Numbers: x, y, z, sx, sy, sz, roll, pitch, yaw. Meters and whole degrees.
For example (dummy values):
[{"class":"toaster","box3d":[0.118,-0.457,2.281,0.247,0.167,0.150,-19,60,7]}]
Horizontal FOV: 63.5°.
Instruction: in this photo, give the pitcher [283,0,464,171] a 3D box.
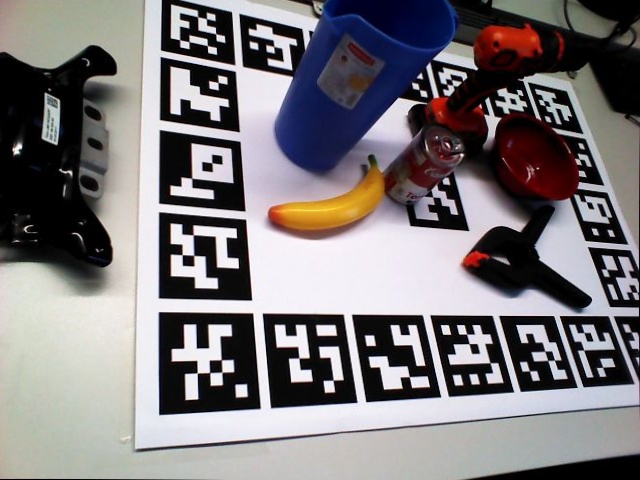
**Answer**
[{"class":"pitcher","box3d":[0.051,-0.193,0.602,0.188,0.244,0.133,-24,74,-32]}]

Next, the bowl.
[{"class":"bowl","box3d":[0.336,-0.120,0.810,0.161,0.055,0.161,10,64,-20]}]

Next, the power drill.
[{"class":"power drill","box3d":[0.261,-0.212,0.719,0.184,0.188,0.057,-2,67,-26]}]

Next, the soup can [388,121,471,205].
[{"class":"soup can","box3d":[0.142,-0.102,0.686,0.068,0.103,0.067,12,53,-17]}]

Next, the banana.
[{"class":"banana","box3d":[0.023,-0.048,0.645,0.196,0.039,0.074,-25,69,-34]}]

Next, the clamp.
[{"class":"clamp","box3d":[0.302,0.023,0.727,0.202,0.037,0.165,0,70,-25]}]
